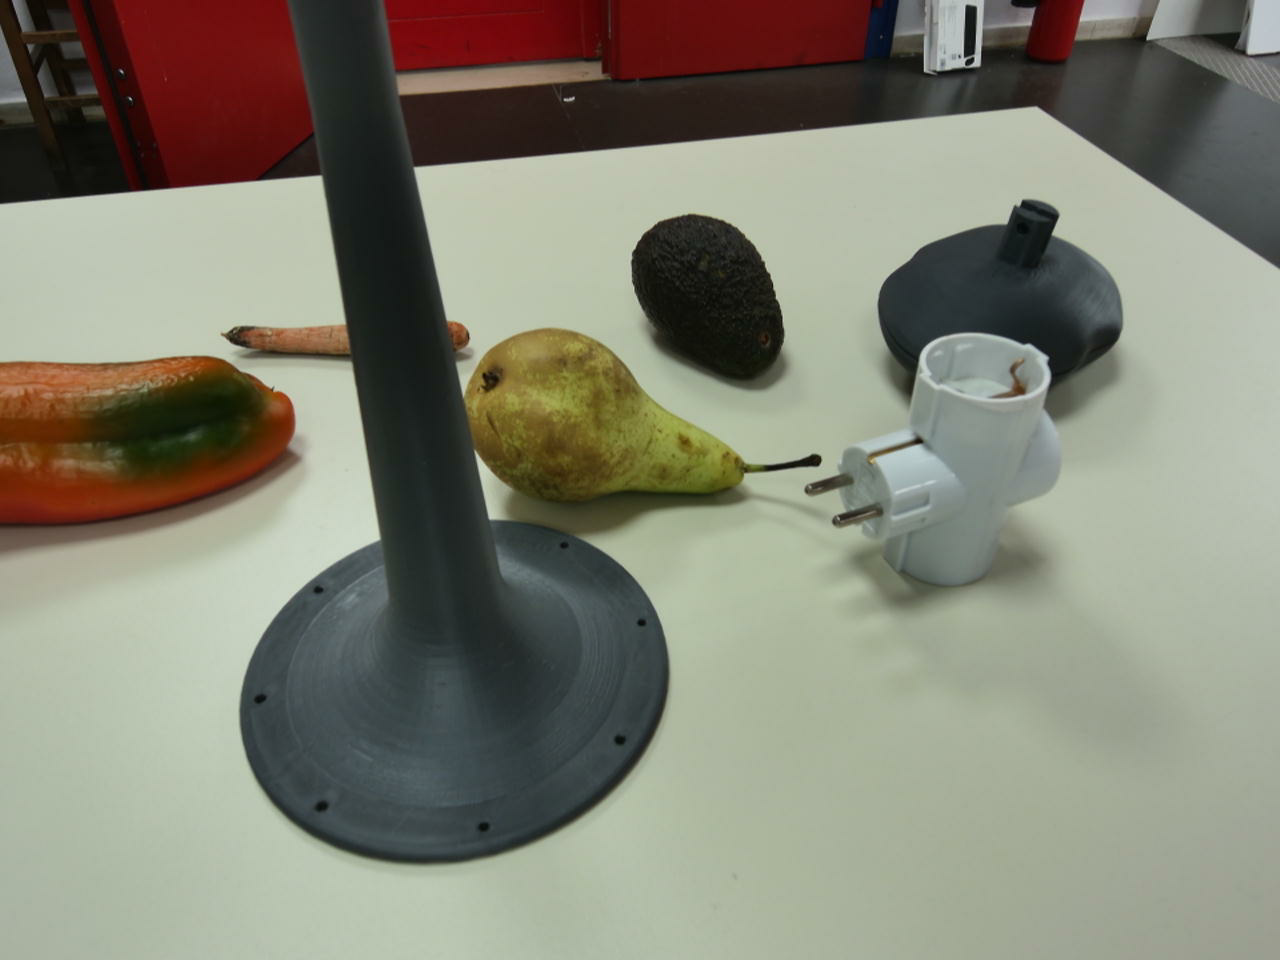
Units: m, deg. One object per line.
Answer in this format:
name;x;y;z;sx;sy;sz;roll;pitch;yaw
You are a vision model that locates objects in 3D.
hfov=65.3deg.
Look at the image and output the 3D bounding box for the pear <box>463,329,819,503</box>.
pear;-0.001;-0.029;0.422;0.144;0.075;0.071;-4;39;-5
